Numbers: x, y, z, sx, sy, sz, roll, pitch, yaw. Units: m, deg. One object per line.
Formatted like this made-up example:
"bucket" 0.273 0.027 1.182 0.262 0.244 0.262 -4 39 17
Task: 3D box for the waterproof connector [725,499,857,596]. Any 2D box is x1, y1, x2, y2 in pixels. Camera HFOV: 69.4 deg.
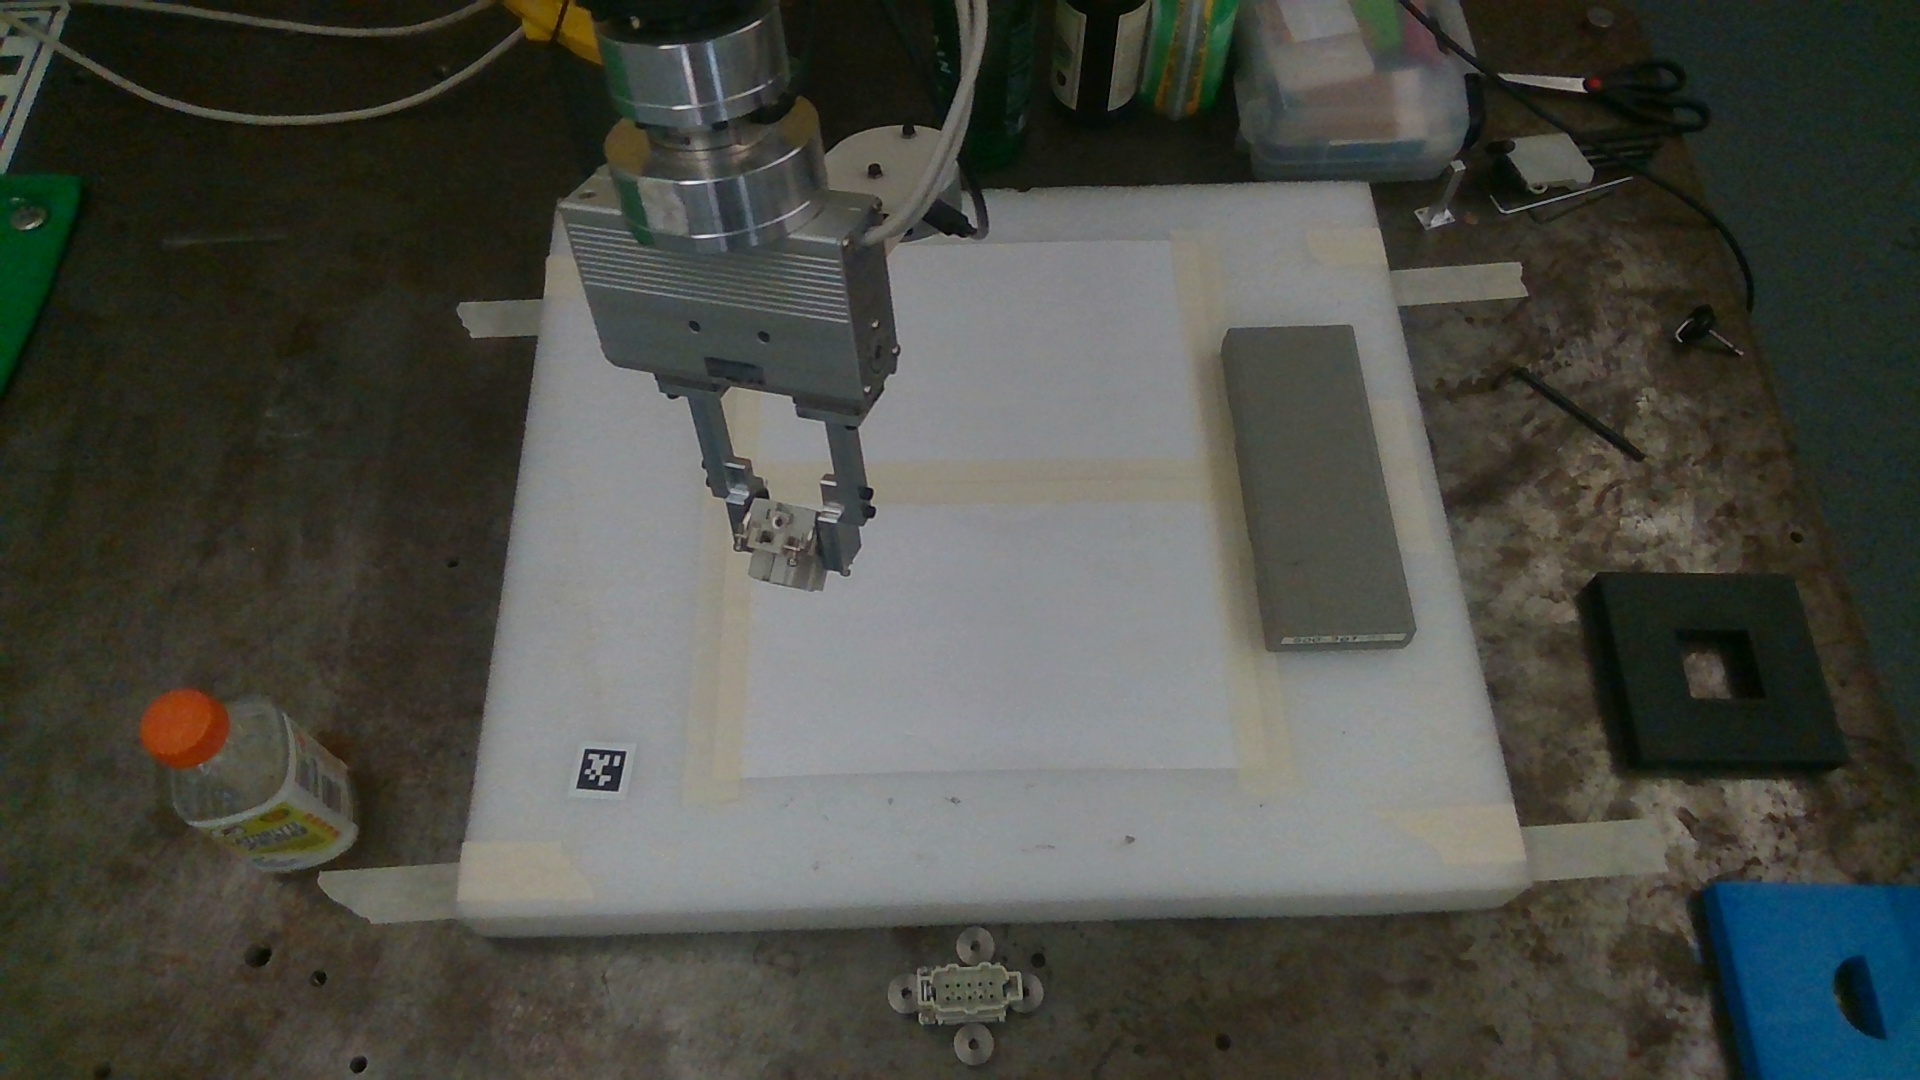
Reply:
"waterproof connector" -0.076 0.005 0.641 0.037 0.069 0.038 13 90 24
